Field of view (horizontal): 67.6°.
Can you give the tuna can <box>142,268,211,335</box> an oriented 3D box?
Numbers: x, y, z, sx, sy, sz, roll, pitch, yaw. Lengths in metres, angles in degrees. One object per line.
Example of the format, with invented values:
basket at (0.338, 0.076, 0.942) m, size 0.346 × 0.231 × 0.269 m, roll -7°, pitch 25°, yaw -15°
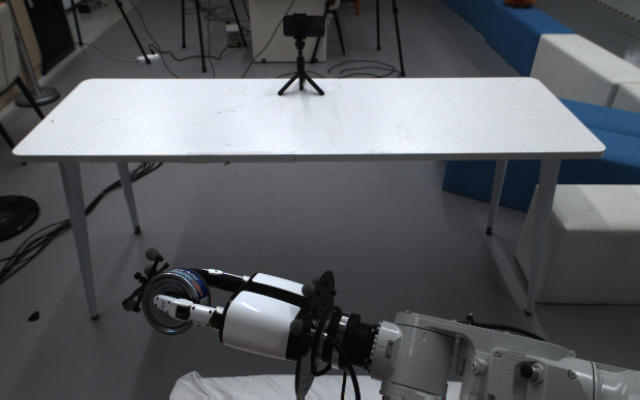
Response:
tuna can at (-0.189, 0.138, 0.643) m, size 0.085 × 0.085 × 0.034 m, roll 9°, pitch 6°, yaw 10°
